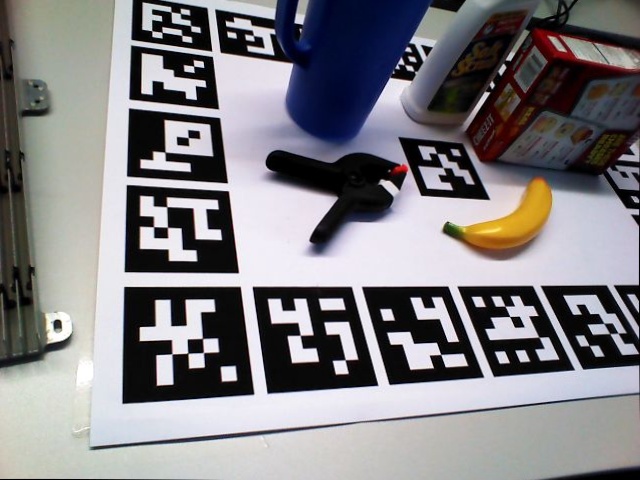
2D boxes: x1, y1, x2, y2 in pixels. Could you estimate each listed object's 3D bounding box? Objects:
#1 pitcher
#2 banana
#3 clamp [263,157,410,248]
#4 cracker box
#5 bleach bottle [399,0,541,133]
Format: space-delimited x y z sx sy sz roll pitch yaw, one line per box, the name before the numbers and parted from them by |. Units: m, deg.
pitcher | 0.032 -0.234 0.553 0.188 0.244 0.133 -15 59 -33
banana | 0.242 -0.026 0.640 0.074 0.039 0.196 44 51 17
clamp | 0.032 -0.054 0.575 0.164 0.037 0.121 -13 57 -31
cracker box | 0.347 -0.172 0.682 0.213 0.165 0.071 2 50 -17
bleach bottle | 0.195 -0.251 0.653 0.102 0.252 0.067 1 52 -19
